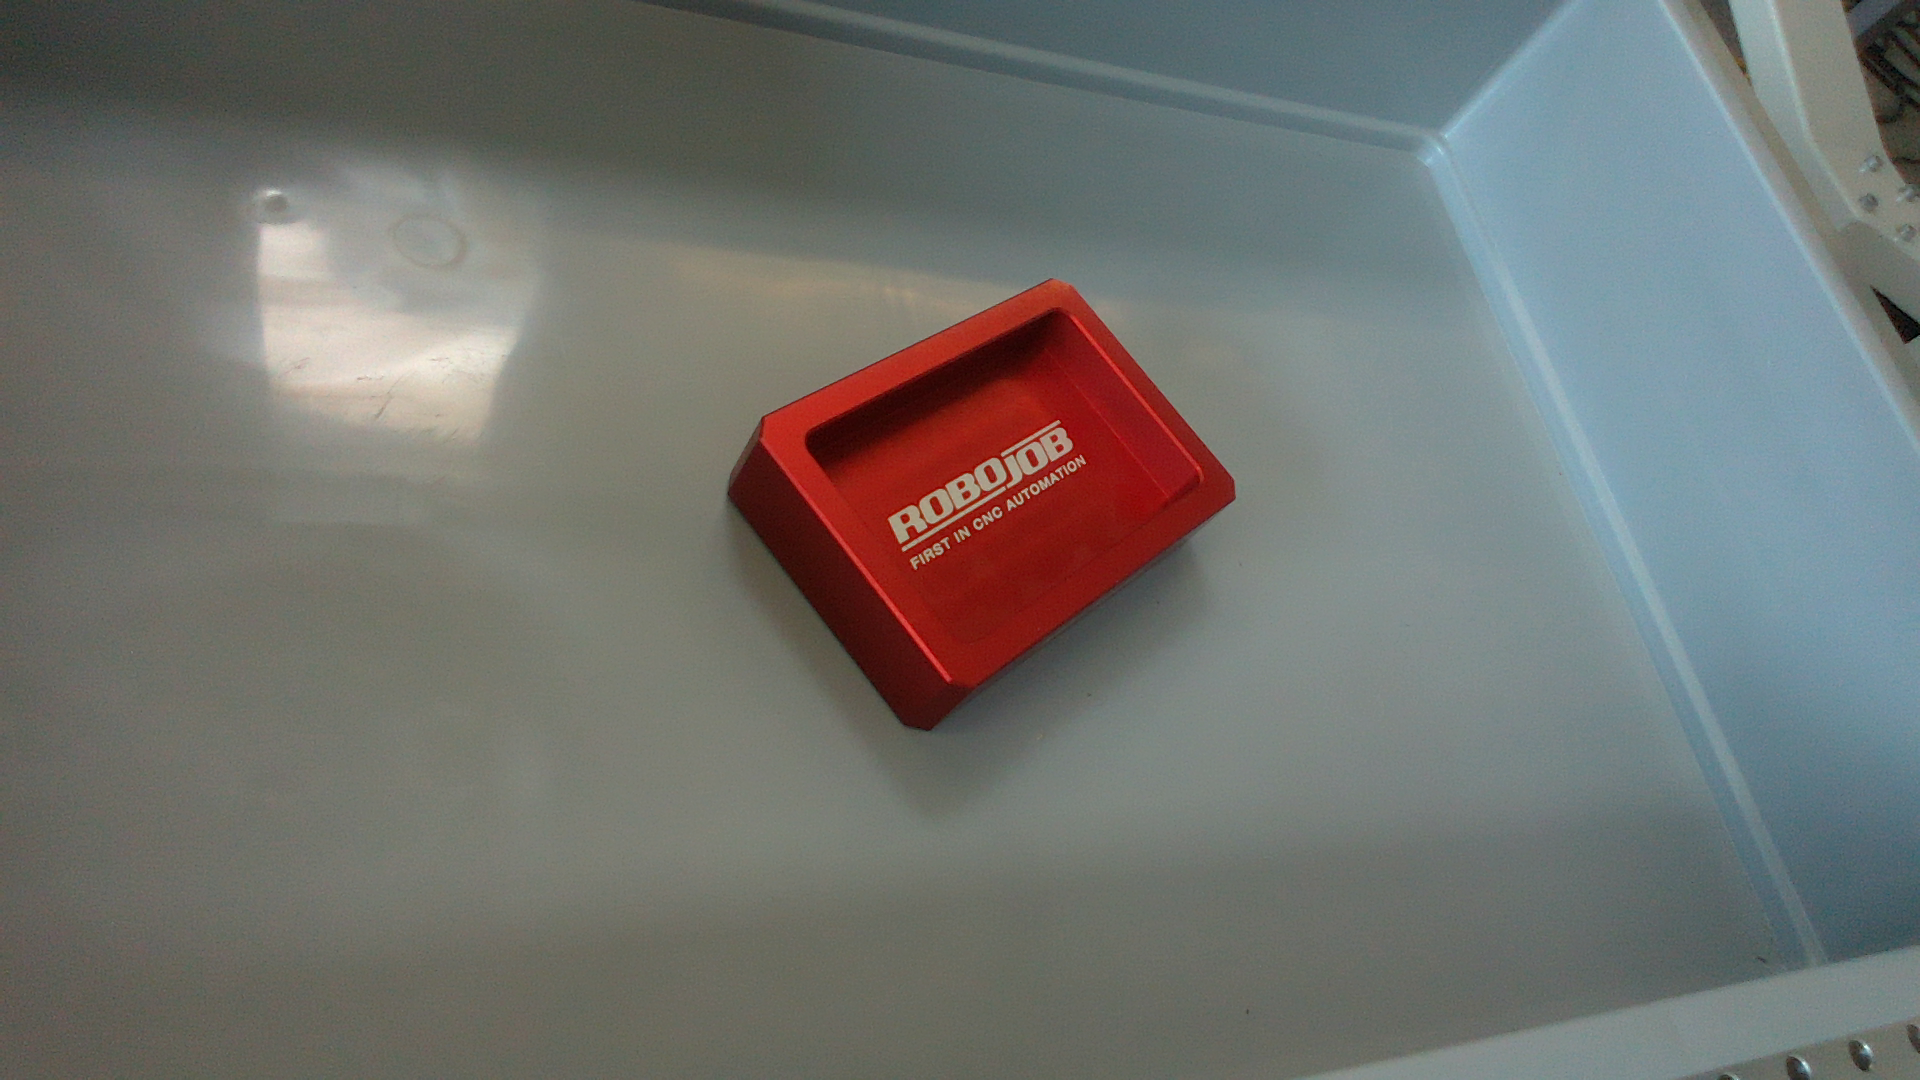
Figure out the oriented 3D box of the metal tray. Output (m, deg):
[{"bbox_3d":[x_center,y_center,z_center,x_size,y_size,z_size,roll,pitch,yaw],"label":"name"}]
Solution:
[{"bbox_3d":[0.010,-0.016,0.398,0.130,0.030,0.090,-32,80,-38],"label":"metal tray"}]
